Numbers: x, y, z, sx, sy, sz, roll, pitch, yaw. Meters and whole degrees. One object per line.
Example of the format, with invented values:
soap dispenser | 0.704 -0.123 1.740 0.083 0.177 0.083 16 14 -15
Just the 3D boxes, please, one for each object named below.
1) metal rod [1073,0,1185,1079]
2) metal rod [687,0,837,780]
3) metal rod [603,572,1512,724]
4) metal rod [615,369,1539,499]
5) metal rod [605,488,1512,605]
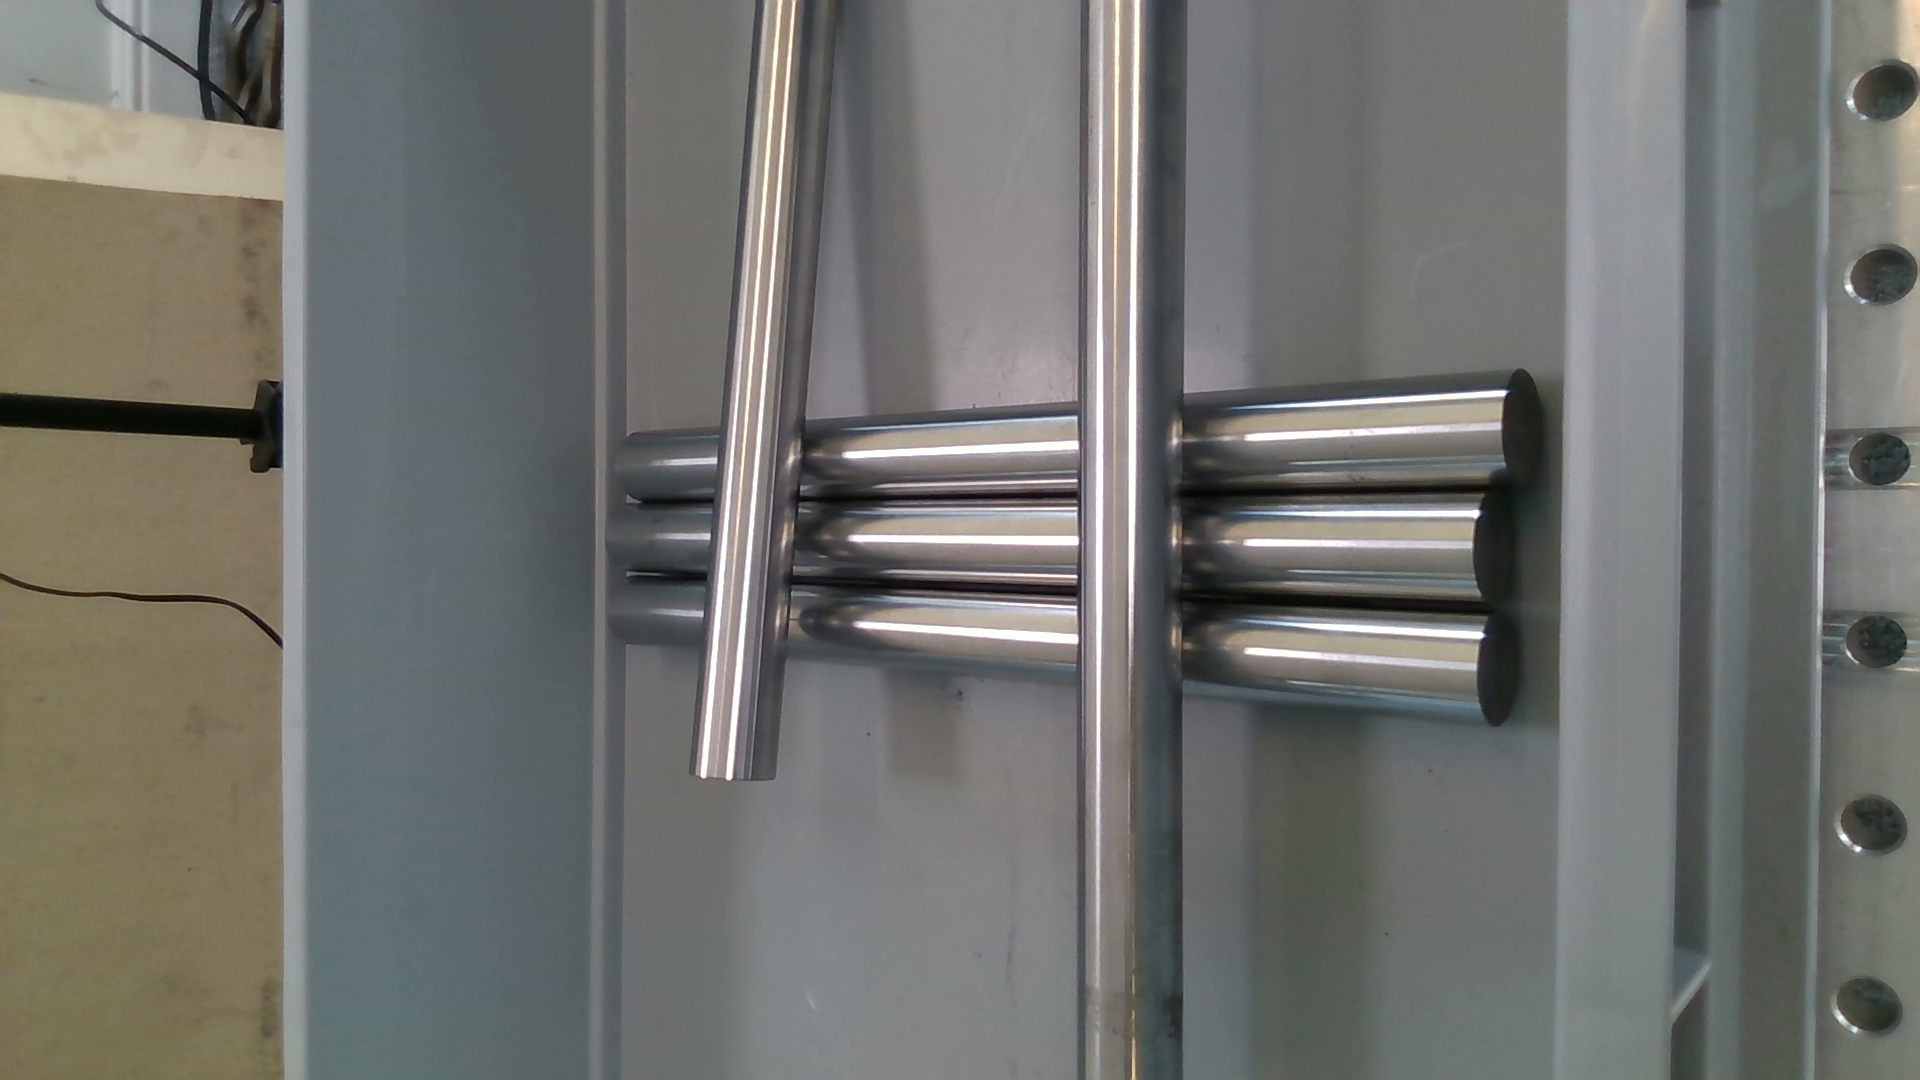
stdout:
metal rod | 0.040 -0.013 0.323 0.025 0.025 0.300 1 91 40
metal rod | -0.056 -0.081 0.412 0.025 0.025 0.300 0 83 40
metal rod | -0.001 0.025 0.390 0.300 0.025 0.025 1 91 40
metal rod | 0.004 -0.025 0.387 0.300 0.025 0.025 1 91 40
metal rod | -0.001 0.000 0.391 0.300 0.025 0.025 1 91 40
